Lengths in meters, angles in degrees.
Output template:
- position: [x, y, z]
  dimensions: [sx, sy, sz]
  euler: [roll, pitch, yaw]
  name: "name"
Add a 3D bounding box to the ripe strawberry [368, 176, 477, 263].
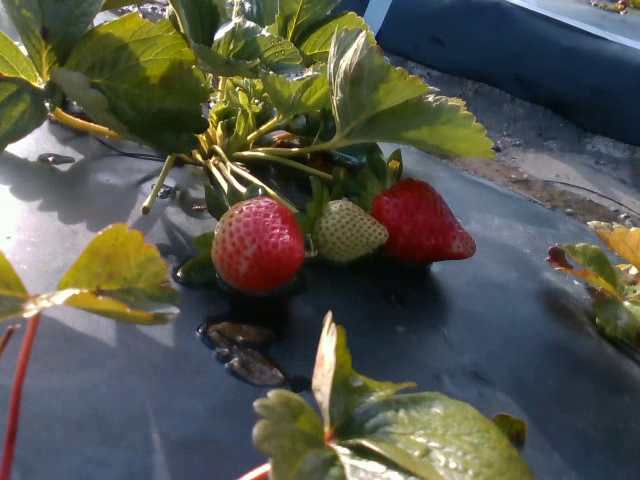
- position: [0.054, -0.007, 0.313]
  dimensions: [0.064, 0.048, 0.050]
  euler: [41, -11, 26]
  name: "ripe strawberry"
